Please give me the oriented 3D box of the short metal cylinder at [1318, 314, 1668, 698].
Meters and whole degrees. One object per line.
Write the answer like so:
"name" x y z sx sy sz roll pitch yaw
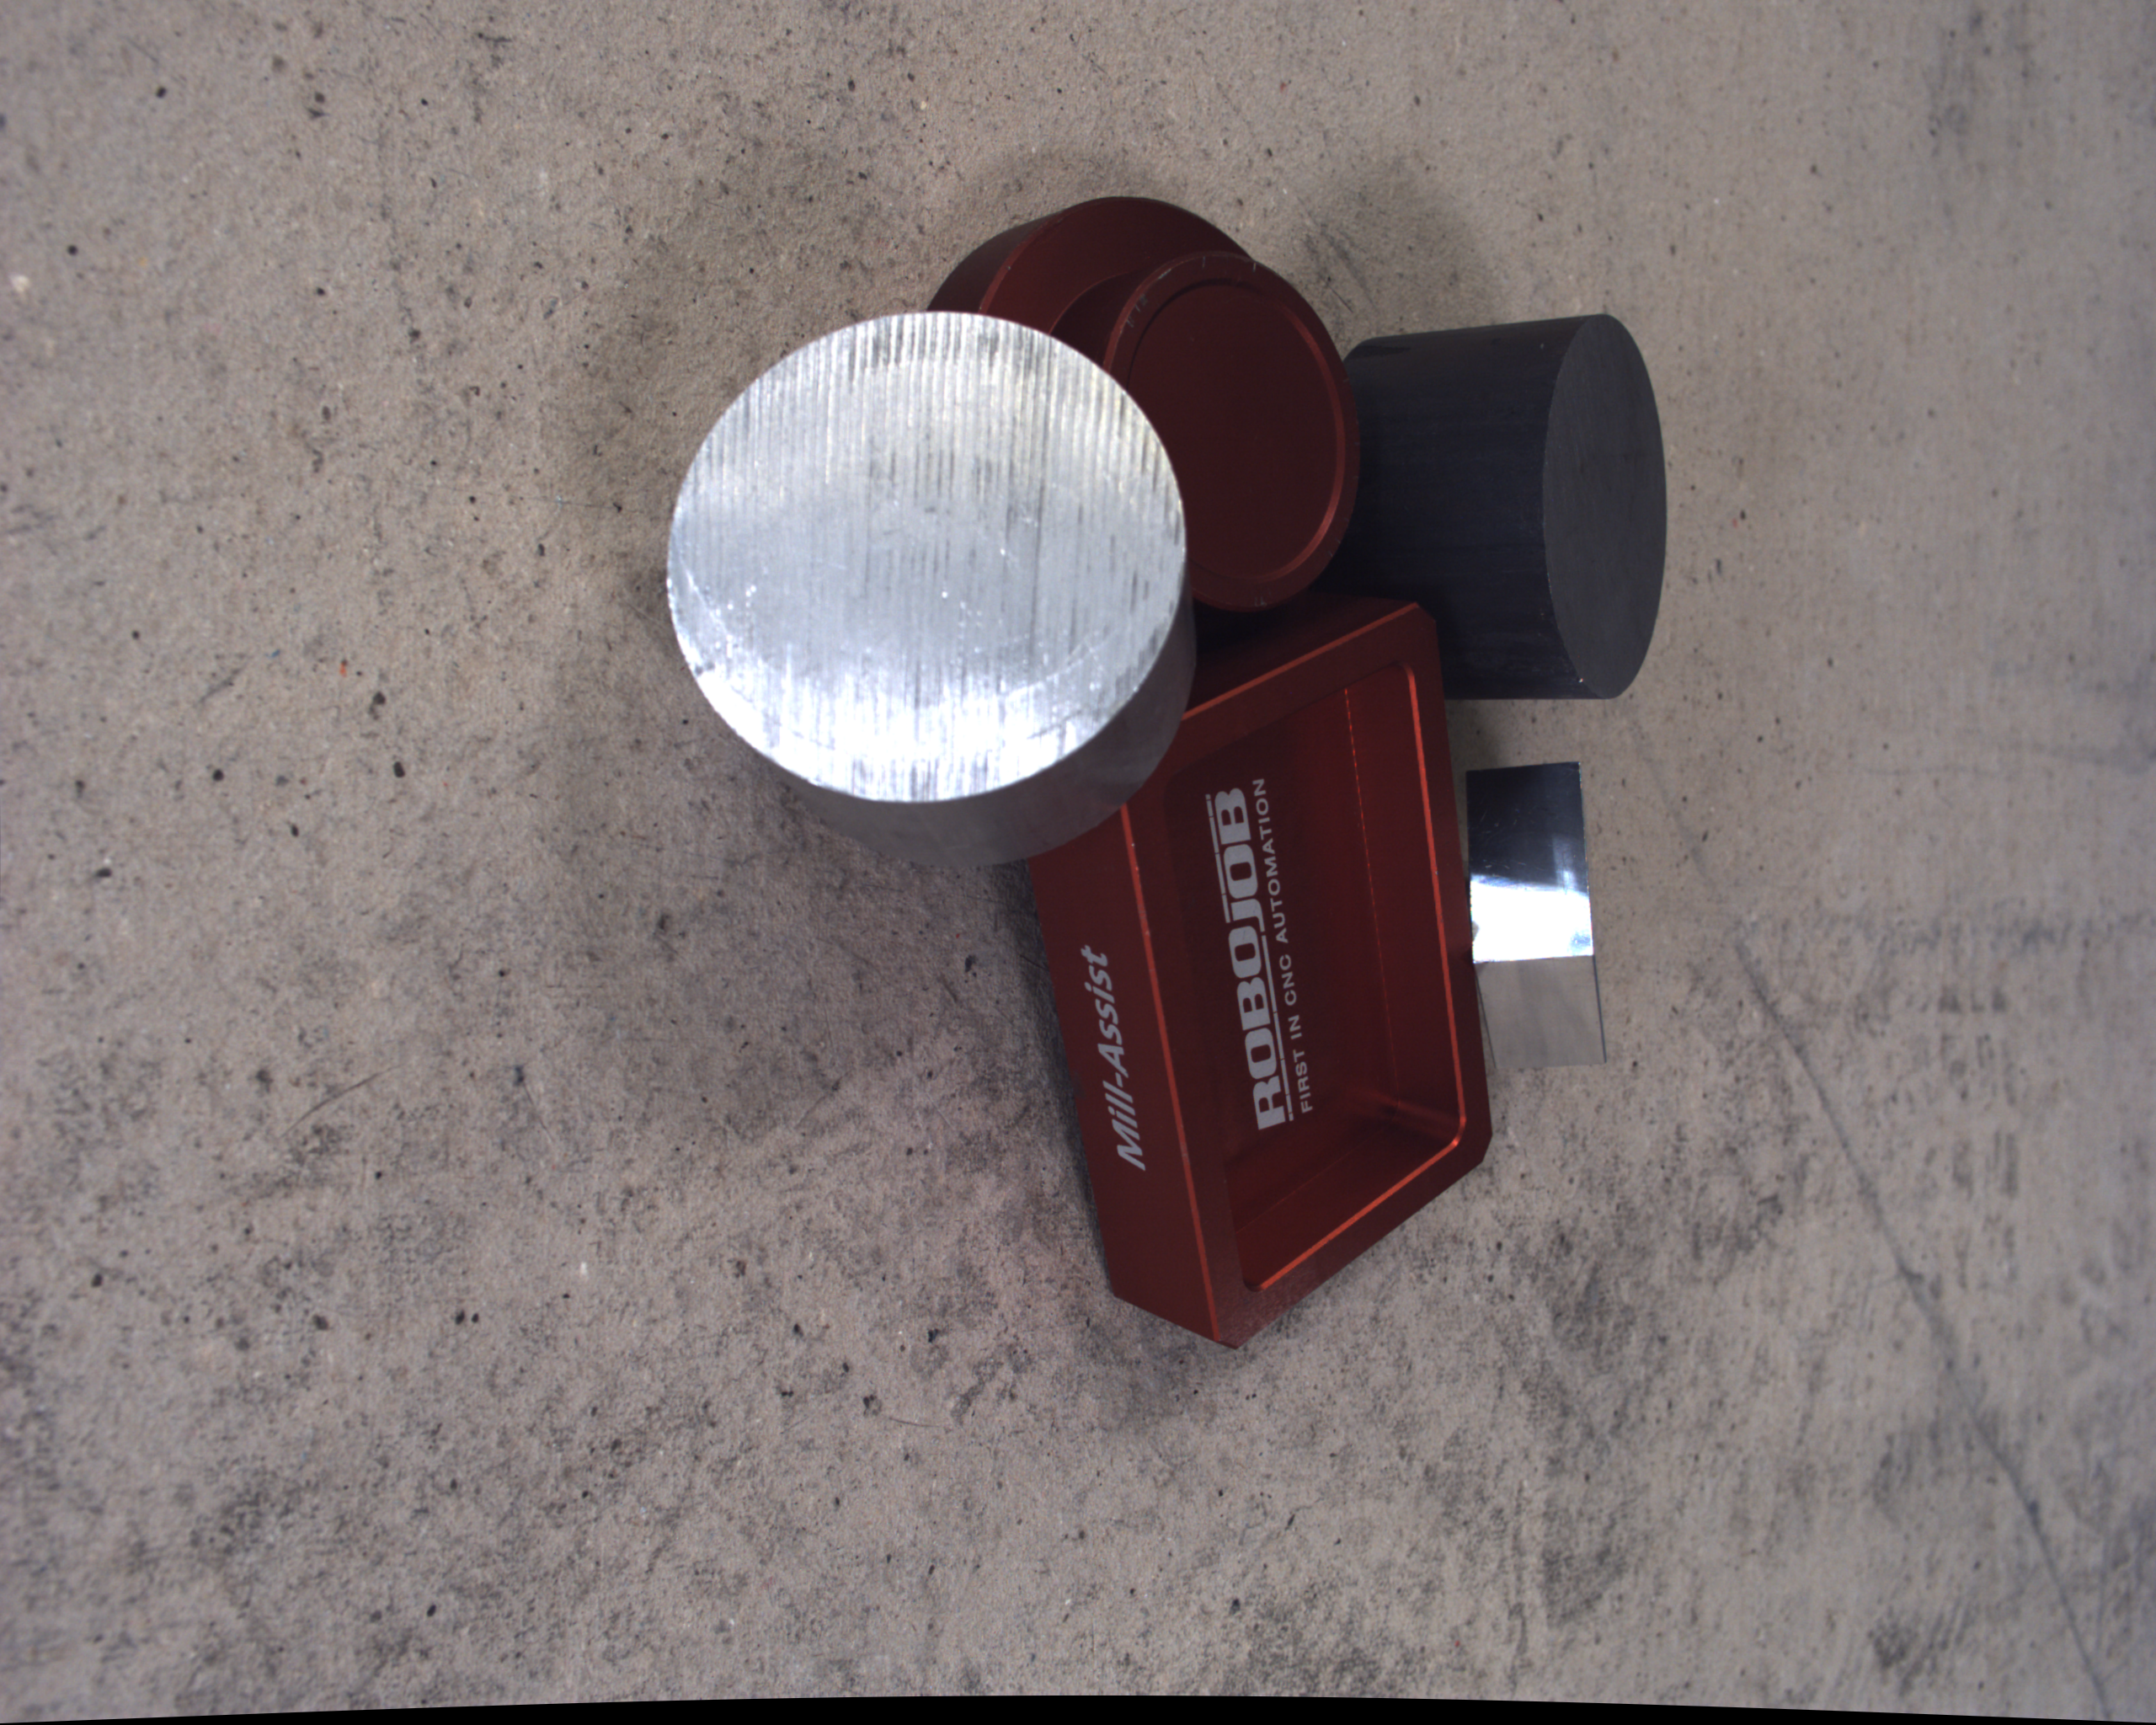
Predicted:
"short metal cylinder" 0.091 -0.075 0.452 0.080 0.050 0.079 -6 96 -57

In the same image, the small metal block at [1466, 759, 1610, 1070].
"small metal block" 0.104 0.012 0.470 0.050 0.025 0.050 64 25 -53

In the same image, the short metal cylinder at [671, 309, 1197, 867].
"short metal cylinder" -0.021 -0.043 0.344 0.050 0.080 0.080 67 35 -77

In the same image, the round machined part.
"round machined part" 0.017 -0.082 0.410 0.099 0.042 0.097 0 90 -40

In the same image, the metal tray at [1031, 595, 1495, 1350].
"metal tray" 0.039 0.020 0.421 0.091 0.030 0.129 -28 117 -37
